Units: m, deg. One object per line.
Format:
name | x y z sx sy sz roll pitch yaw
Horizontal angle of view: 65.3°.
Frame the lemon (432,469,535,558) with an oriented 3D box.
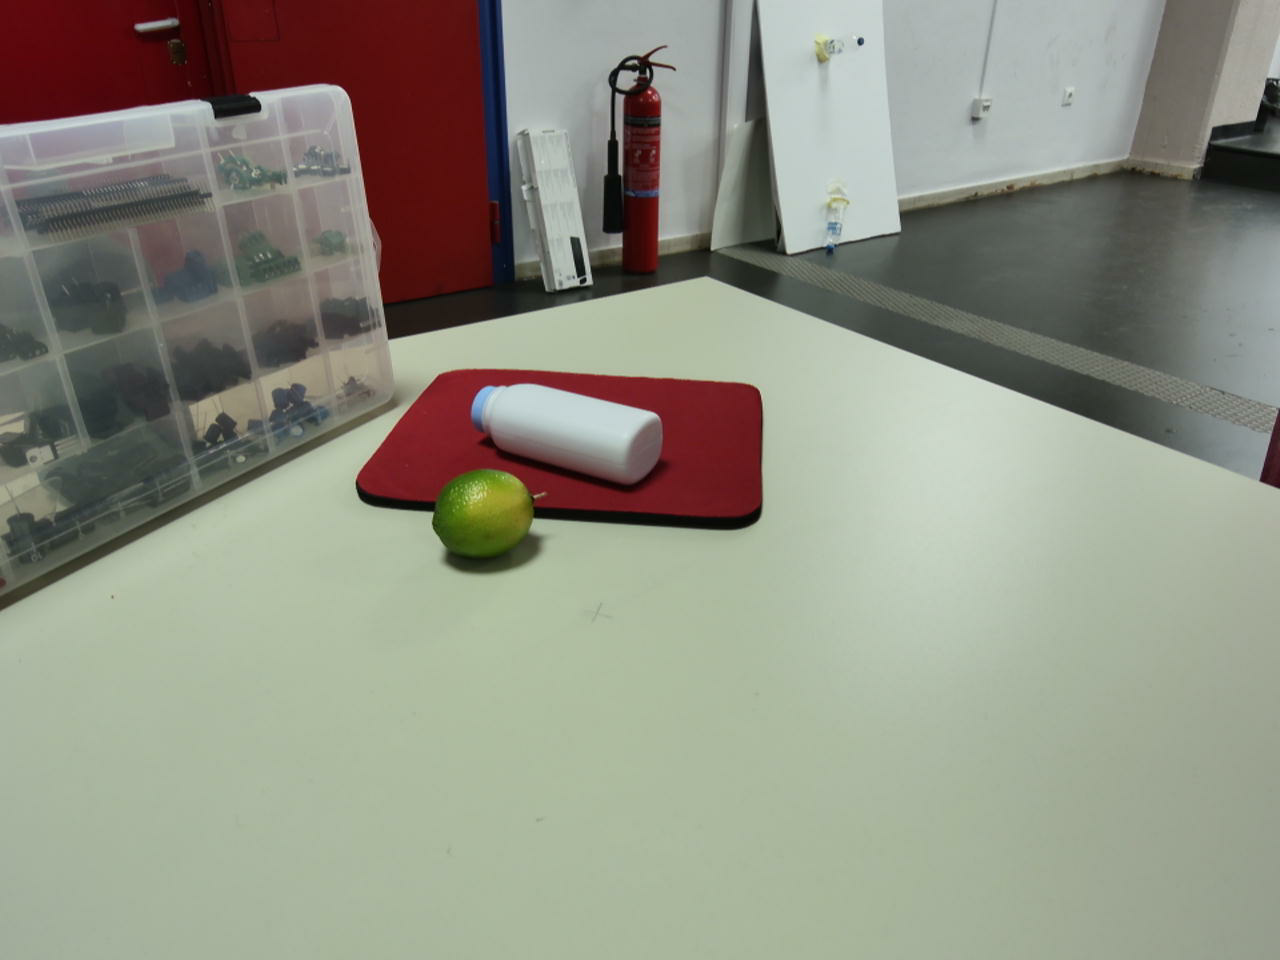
lemon | -0.090 0.019 0.574 0.055 0.050 0.054 7 26 12
